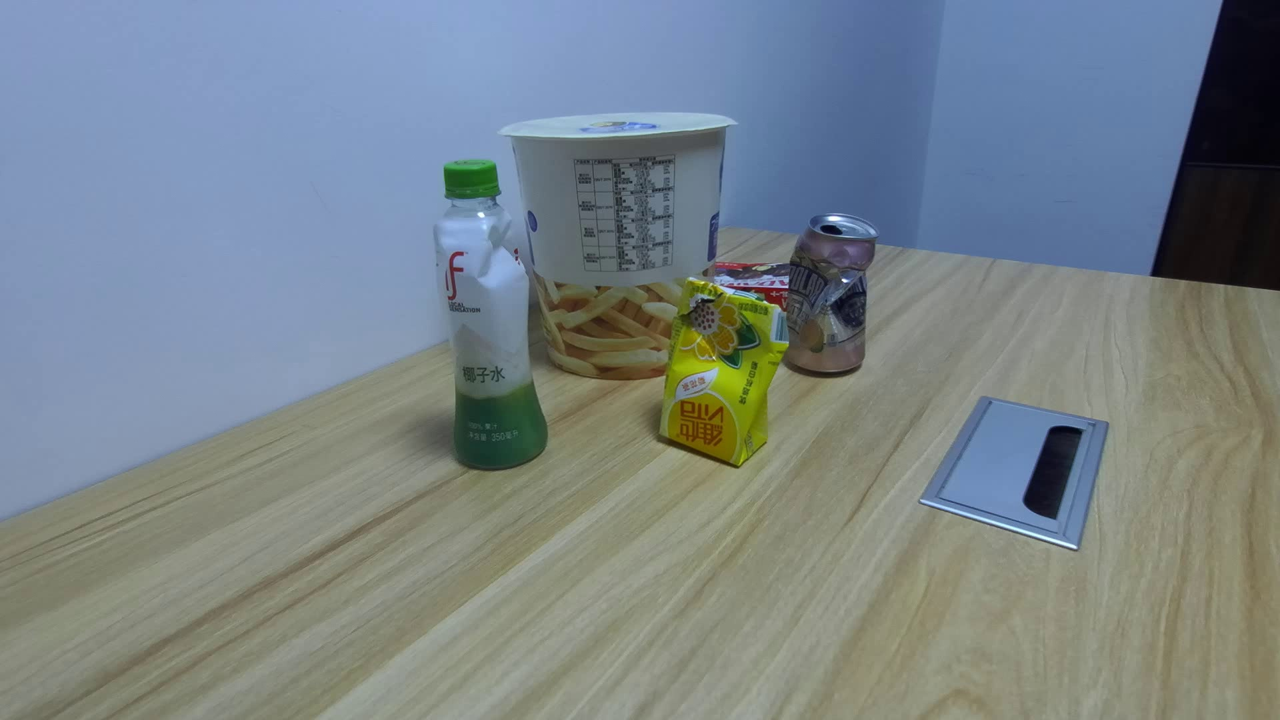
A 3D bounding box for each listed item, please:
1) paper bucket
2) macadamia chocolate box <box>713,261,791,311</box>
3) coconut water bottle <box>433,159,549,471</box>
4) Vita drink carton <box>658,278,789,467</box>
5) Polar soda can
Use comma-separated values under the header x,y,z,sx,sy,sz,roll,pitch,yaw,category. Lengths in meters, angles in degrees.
x,y,z,sx,sy,sz,roll,pitch,yaw,category
-0.014,-0.100,0.602,0.198,0.195,0.198,-2,23,1,paper bucket
0.143,-0.081,0.766,0.183,0.028,0.106,5,24,10,macadamia chocolate box
-0.096,-0.027,0.445,0.069,0.186,0.069,-1,24,1,coconut water bottle
0.056,0.005,0.463,0.086,0.108,0.042,19,17,33,Vita drink carton
0.158,-0.049,0.569,0.067,0.122,0.071,1,24,-8,Polar soda can
